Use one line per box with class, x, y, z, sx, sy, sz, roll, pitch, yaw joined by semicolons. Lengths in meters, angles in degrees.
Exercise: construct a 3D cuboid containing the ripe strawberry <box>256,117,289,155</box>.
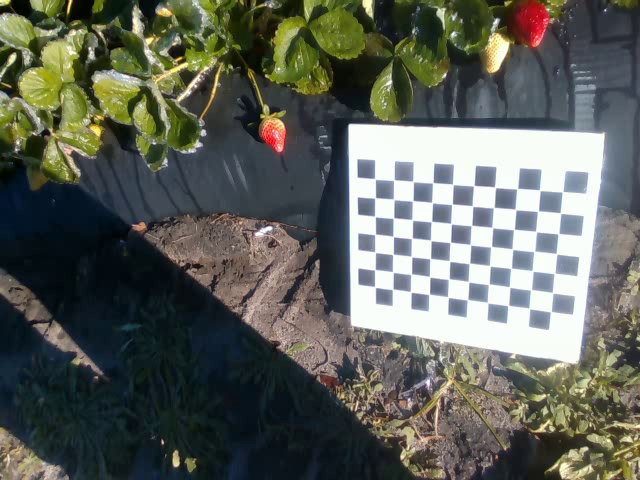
ripe strawberry;-0.057;-0.134;0.871;0.039;0.053;0.040;-17;-6;28
